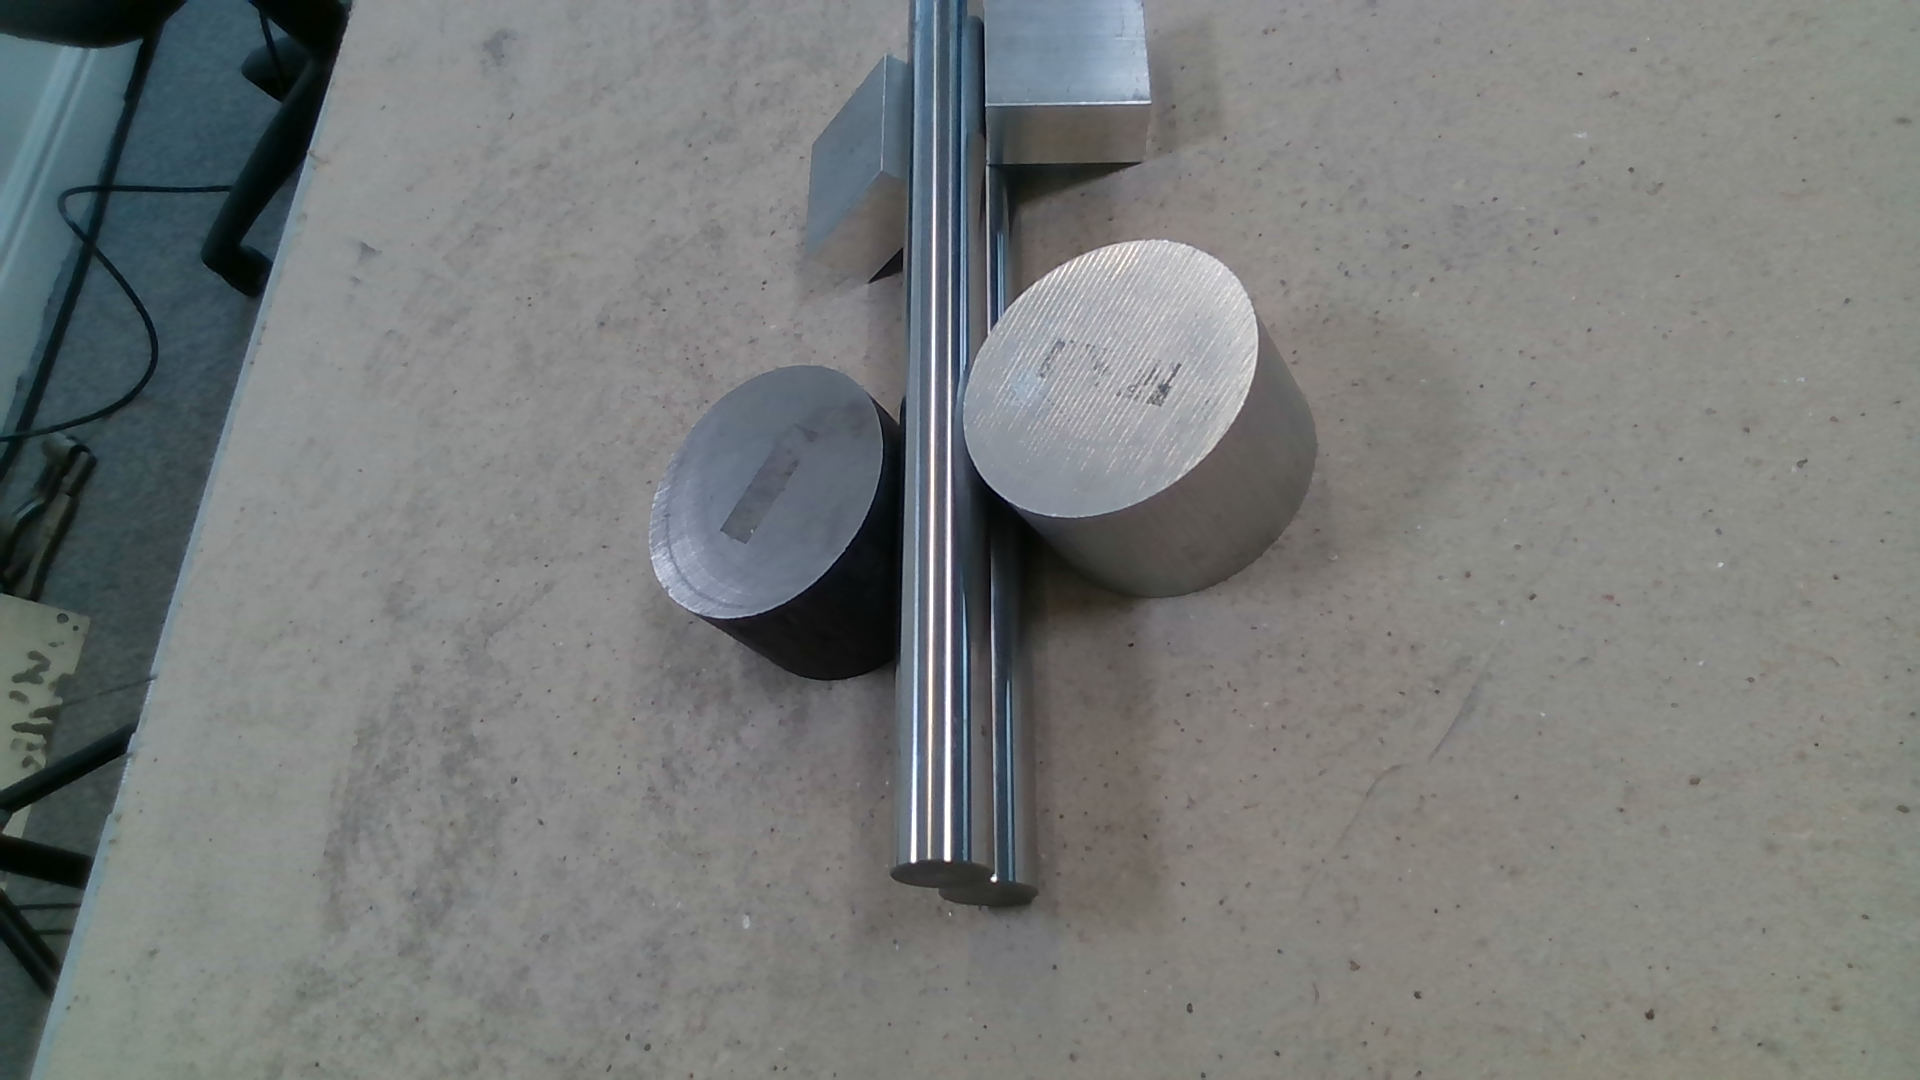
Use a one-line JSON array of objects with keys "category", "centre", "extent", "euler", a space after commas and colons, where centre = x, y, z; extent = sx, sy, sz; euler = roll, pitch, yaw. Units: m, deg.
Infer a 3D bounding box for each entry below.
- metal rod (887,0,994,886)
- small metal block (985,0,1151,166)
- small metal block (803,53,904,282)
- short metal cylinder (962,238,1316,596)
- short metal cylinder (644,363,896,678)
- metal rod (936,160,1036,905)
[{"category": "metal rod", "centre": [-0.004, -0.054, 0.392], "extent": [0.025, 0.025, 0.299], "euler": [-14, 59, 25]}, {"category": "small metal block", "centre": [0.033, -0.147, 0.439], "extent": [0.050, 0.025, 0.050], "euler": [-1, 62, 1]}, {"category": "small metal block", "centre": [-0.028, -0.124, 0.464], "extent": [0.050, 0.025, 0.050], "euler": [-33, 48, 47]}, {"category": "short metal cylinder", "centre": [0.048, -0.032, 0.364], "extent": [0.080, 0.050, 0.080], "euler": [-14, 59, 25]}, {"category": "short metal cylinder", "centre": [-0.046, -0.005, 0.408], "extent": [0.080, 0.050, 0.080], "euler": [-14, 59, 25]}, {"category": "metal rod", "centre": [0.007, -0.044, 0.412], "extent": [0.025, 0.025, 0.299], "euler": [-14, 59, 25]}]
